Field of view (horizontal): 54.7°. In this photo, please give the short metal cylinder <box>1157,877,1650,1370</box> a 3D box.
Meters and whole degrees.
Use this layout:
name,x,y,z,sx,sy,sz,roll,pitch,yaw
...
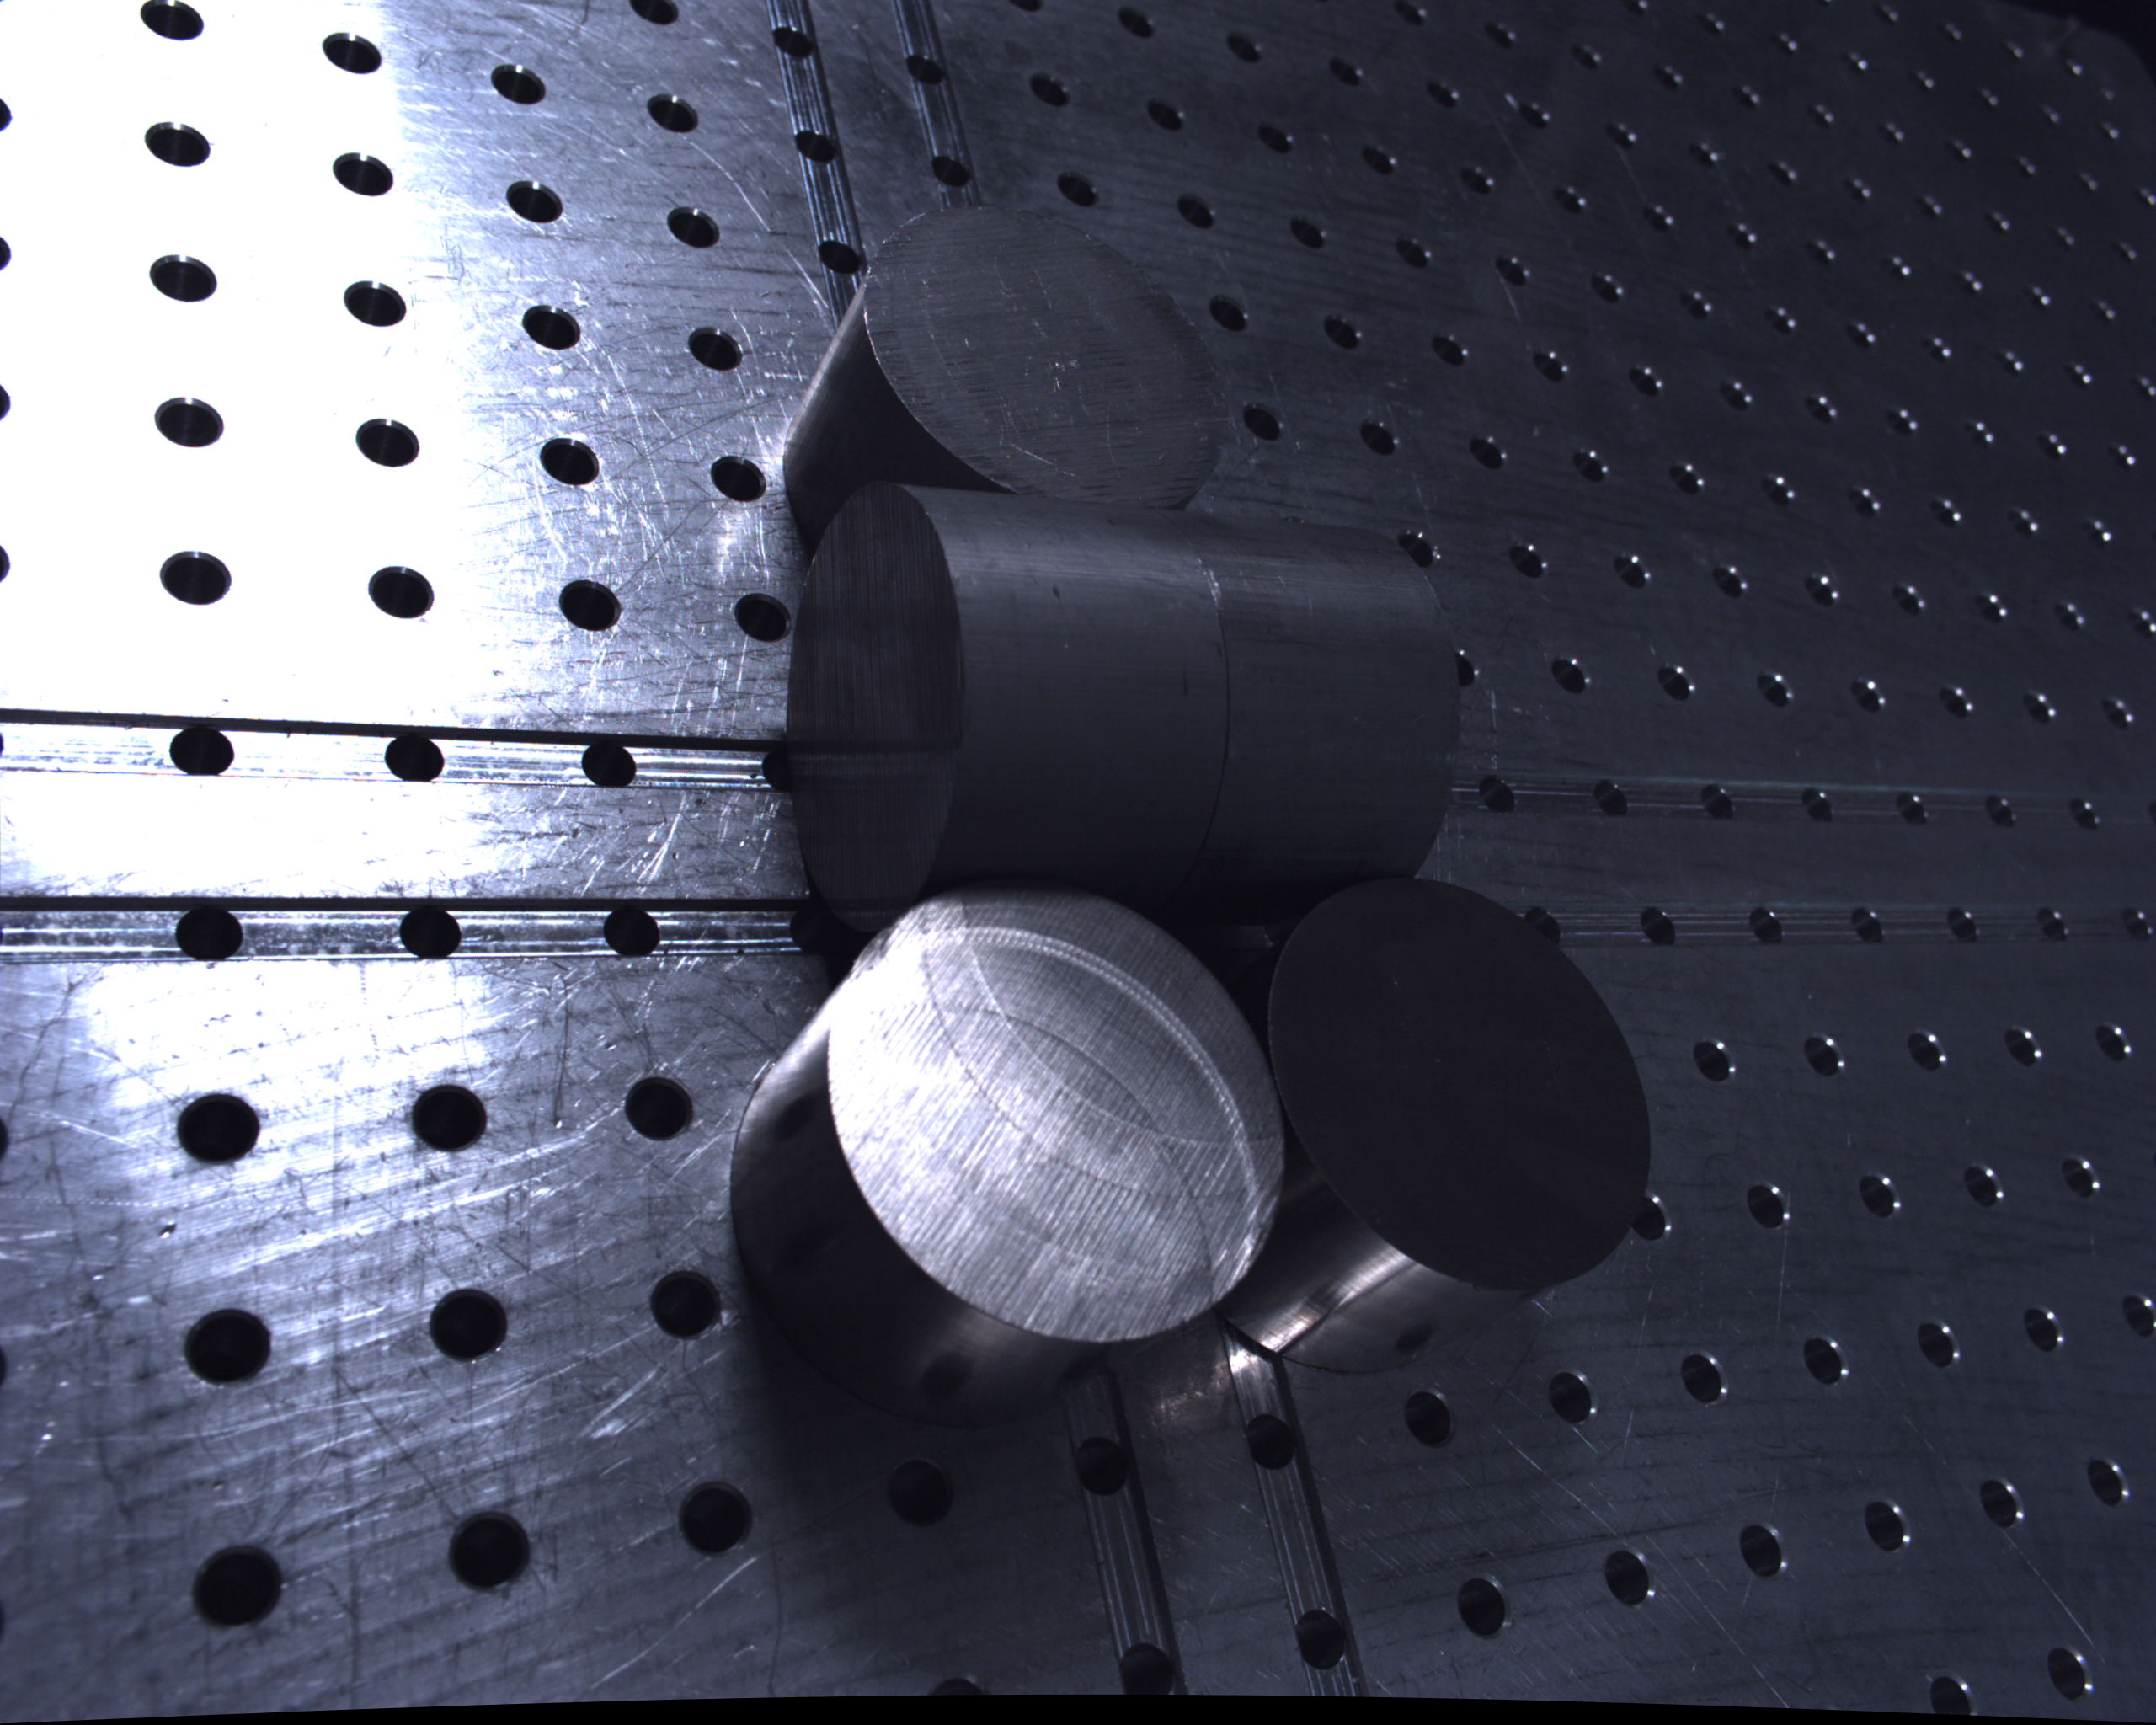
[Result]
name,x,y,z,sx,sy,sz,roll,pitch,yaw
short metal cylinder,0.059,0.049,0.394,0.081,0.050,0.080,14,56,-21

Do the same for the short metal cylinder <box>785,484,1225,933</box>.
name,x,y,z,sx,sy,sz,roll,pitch,yaw
short metal cylinder,-0.016,-0.027,0.383,0.050,0.080,0.080,0,62,-29

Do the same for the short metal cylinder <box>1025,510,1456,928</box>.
name,x,y,z,sx,sy,sz,roll,pitch,yaw
short metal cylinder,0.028,-0.027,0.407,0.050,0.080,0.080,0,62,-29

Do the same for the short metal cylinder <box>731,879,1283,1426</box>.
name,x,y,z,sx,sy,sz,roll,pitch,yaw
short metal cylinder,-0.013,0.050,0.355,0.081,0.050,0.080,14,56,-21

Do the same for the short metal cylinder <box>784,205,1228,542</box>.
name,x,y,z,sx,sy,sz,roll,pitch,yaw
short metal cylinder,-0.016,-0.091,0.440,0.081,0.050,0.080,14,56,-21
